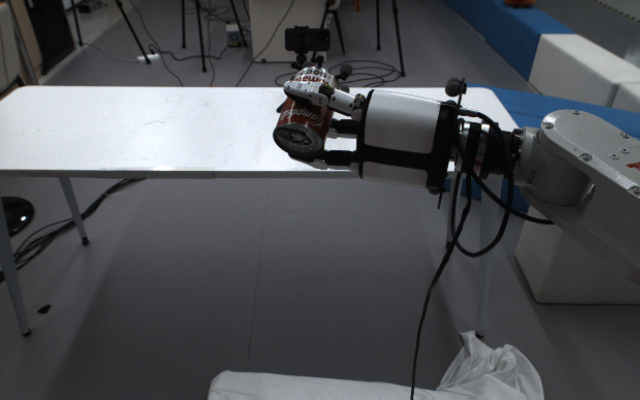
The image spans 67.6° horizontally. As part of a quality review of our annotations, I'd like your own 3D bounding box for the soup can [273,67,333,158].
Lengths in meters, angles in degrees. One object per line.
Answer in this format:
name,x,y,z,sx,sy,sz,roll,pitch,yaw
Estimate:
soup can,-0.015,-0.117,0.635,0.067,0.067,0.101,9,60,10
